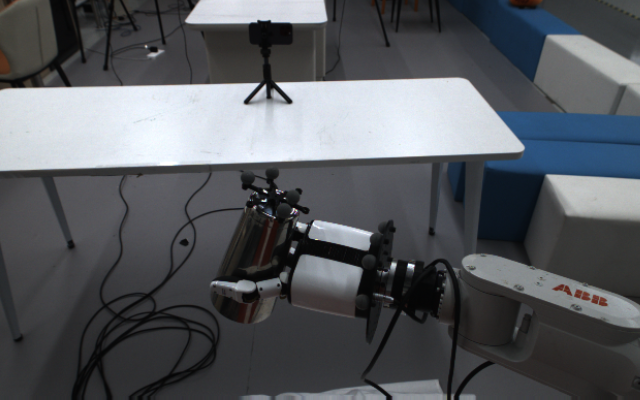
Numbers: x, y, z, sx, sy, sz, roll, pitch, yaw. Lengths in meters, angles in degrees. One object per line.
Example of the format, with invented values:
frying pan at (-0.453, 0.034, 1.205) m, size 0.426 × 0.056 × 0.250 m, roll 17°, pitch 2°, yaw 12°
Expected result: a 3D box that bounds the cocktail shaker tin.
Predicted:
cocktail shaker tin at (-0.081, 0.069, 0.637) m, size 0.093 × 0.170 × 0.093 m, roll 15°, pitch 31°, yaw -10°
